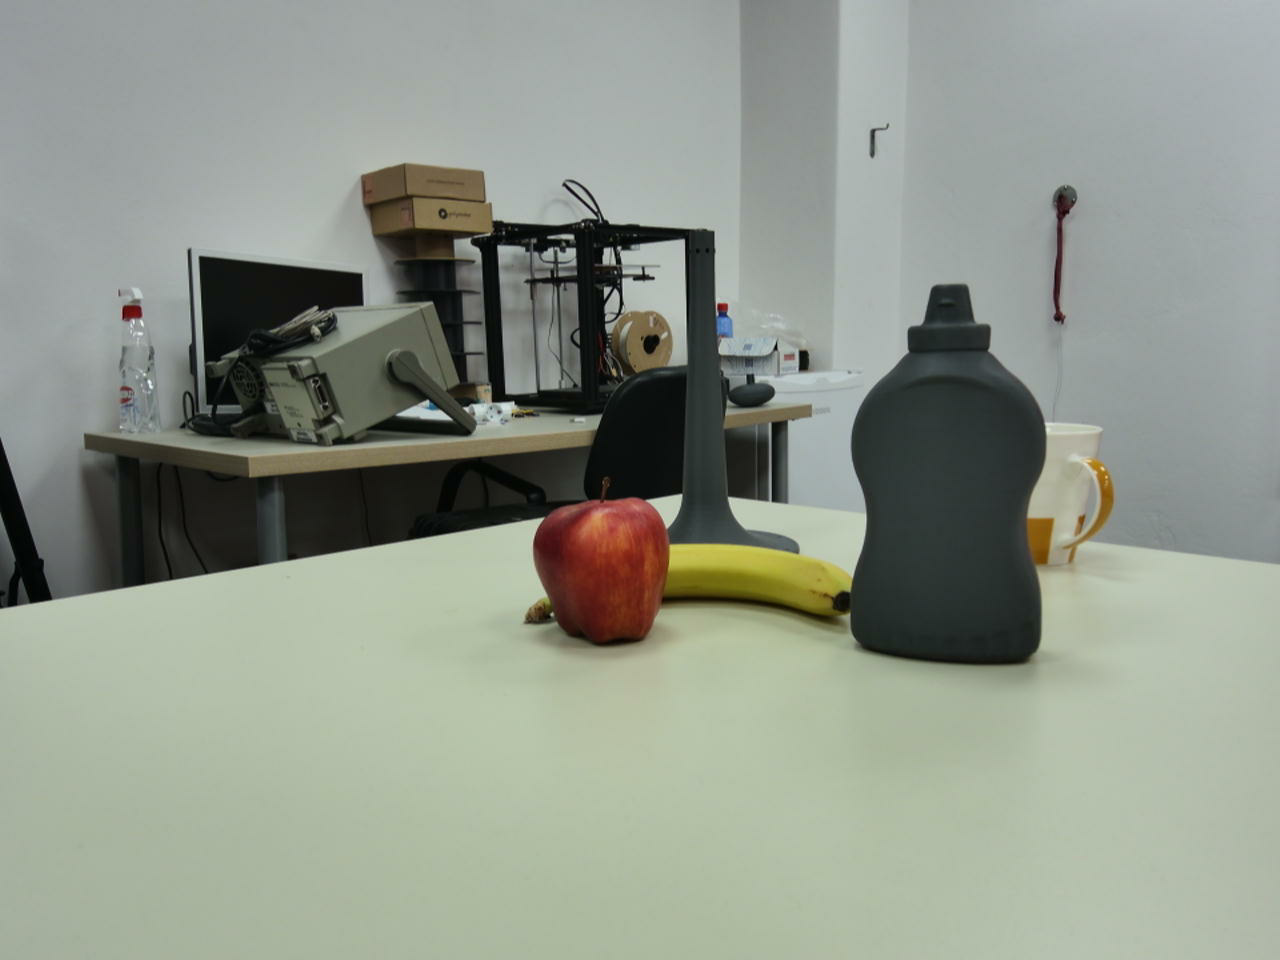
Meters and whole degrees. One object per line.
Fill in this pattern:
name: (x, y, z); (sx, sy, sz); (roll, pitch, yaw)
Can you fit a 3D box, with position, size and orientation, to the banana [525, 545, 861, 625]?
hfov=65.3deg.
banana: (0.035, 0.064, 0.633); (0.196, 0.041, 0.094); (2, 6, 11)
